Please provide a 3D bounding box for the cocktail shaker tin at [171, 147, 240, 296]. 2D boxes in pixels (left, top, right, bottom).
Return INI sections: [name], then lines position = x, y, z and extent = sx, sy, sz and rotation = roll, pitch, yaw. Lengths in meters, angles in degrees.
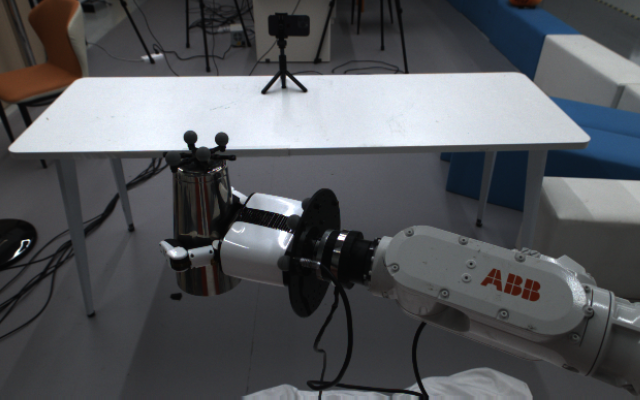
[cocktail shaker tin]
position = -0.148, 0.029, 0.632
extent = 0.093, 0.170, 0.093
rotation = 2, 28, -1
